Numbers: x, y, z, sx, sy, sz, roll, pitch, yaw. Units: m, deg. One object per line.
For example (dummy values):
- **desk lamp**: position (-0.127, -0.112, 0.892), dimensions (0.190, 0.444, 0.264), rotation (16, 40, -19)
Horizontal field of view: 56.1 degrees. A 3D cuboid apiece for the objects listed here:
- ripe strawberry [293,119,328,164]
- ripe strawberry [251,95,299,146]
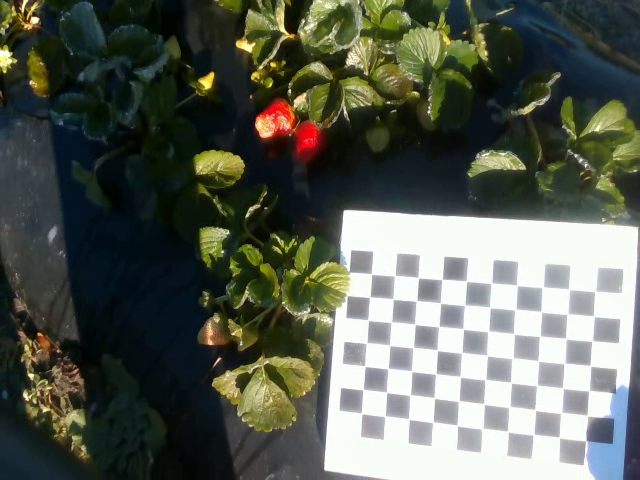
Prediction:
- **ripe strawberry**: position (-0.017, -0.134, 0.783), dimensions (0.043, 0.059, 0.040), rotation (4, -8, 12)
- **ripe strawberry**: position (-0.061, -0.159, 0.804), dimensions (0.069, 0.053, 0.040), rotation (-39, -4, -1)
